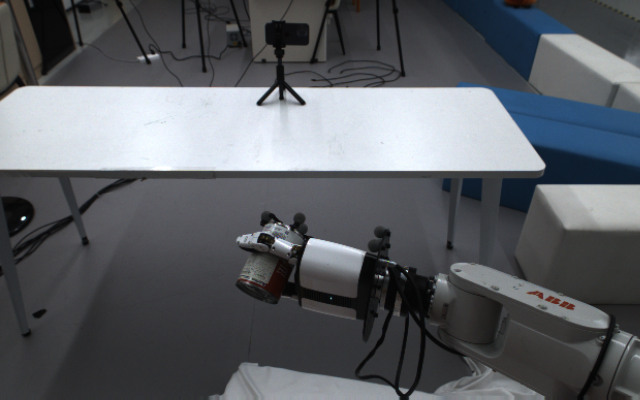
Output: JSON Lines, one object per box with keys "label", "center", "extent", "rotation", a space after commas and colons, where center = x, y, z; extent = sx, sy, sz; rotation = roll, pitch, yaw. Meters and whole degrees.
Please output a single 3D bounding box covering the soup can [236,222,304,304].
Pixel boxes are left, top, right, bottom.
{"label": "soup can", "center": [-0.069, 0.092, 0.704], "extent": [0.067, 0.067, 0.101], "rotation": [15, 63, 18]}
